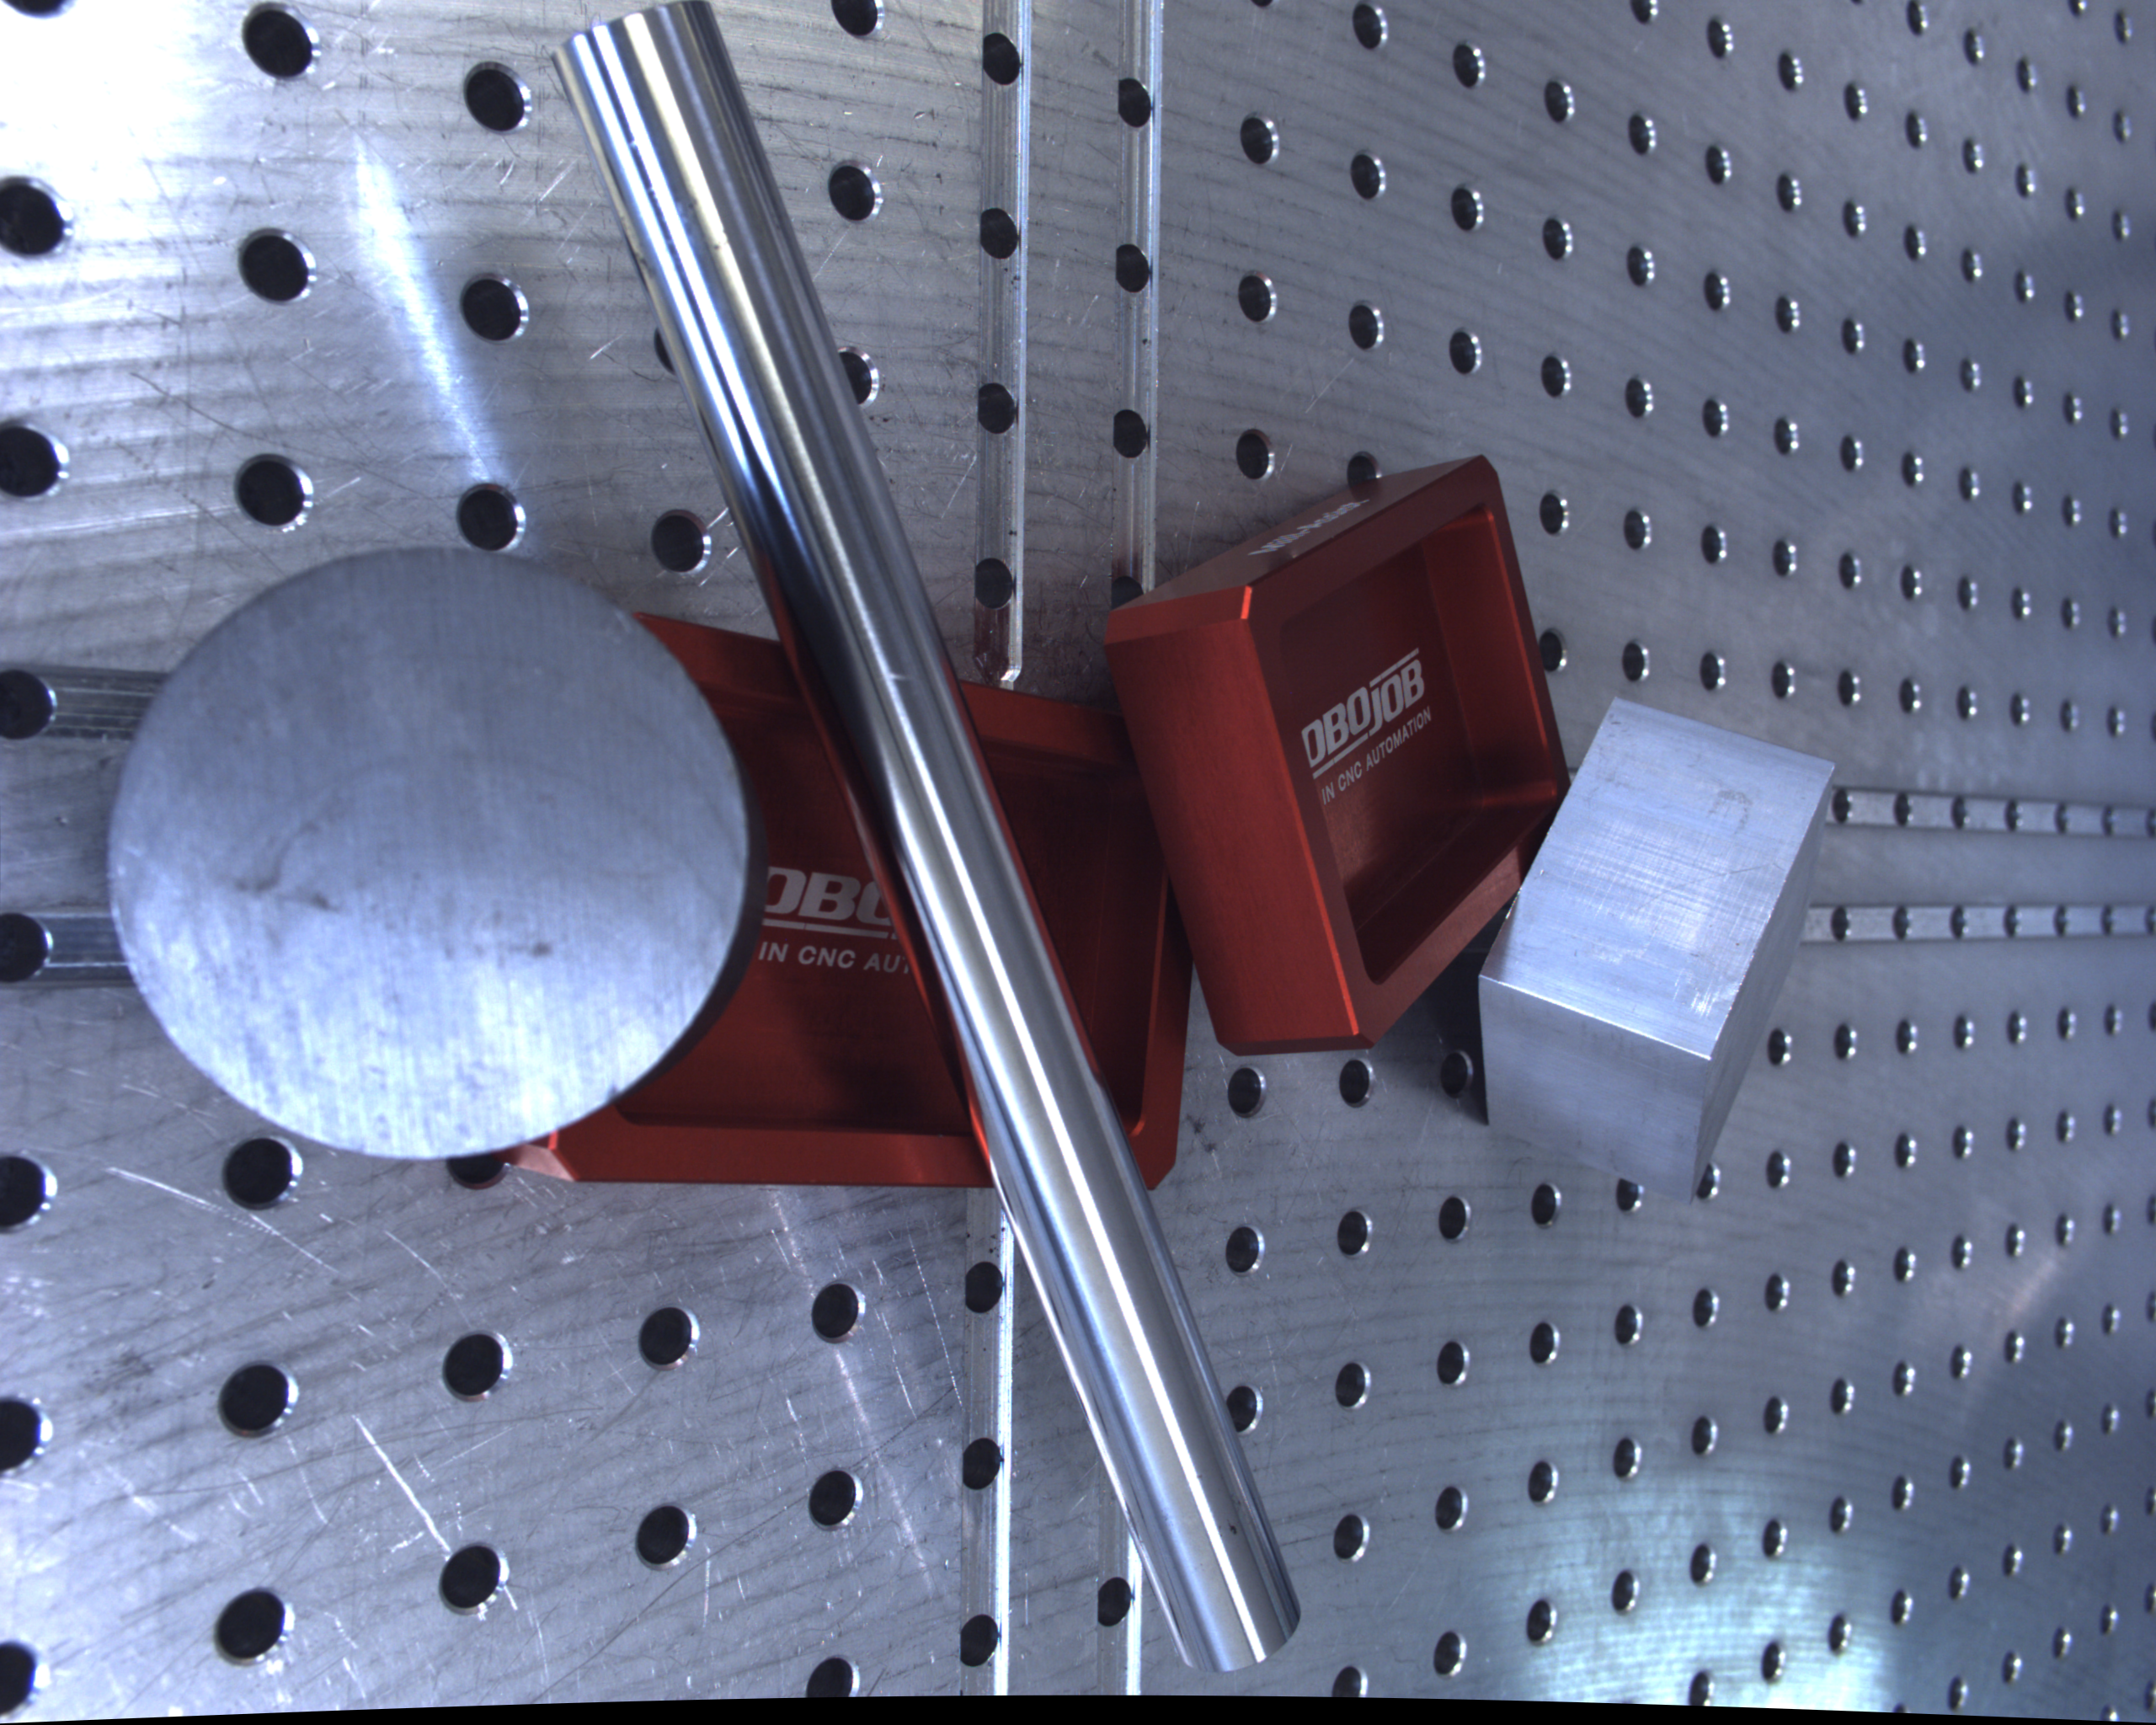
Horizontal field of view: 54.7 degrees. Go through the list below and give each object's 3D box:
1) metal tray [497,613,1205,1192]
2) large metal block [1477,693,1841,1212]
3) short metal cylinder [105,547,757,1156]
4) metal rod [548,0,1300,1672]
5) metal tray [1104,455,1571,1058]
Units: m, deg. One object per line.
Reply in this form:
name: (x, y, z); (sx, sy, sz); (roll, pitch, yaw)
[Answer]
metal tray: (-0.036, 0.012, 0.375); (0.131, 0.030, 0.089); (9, 85, -40)
large metal block: (0.133, 0.022, 0.481); (0.080, 0.050, 0.080); (-59, 154, -23)
short metal cylinder: (-0.087, 0.000, 0.296); (0.081, 0.050, 0.080); (0, 86, -5)
metal rod: (-0.019, 0.010, 0.354); (0.025, 0.025, 0.298); (-32, 110, -36)
metal tray: (0.061, -0.026, 0.432); (0.131, 0.030, 0.089); (-35, 113, -52)
